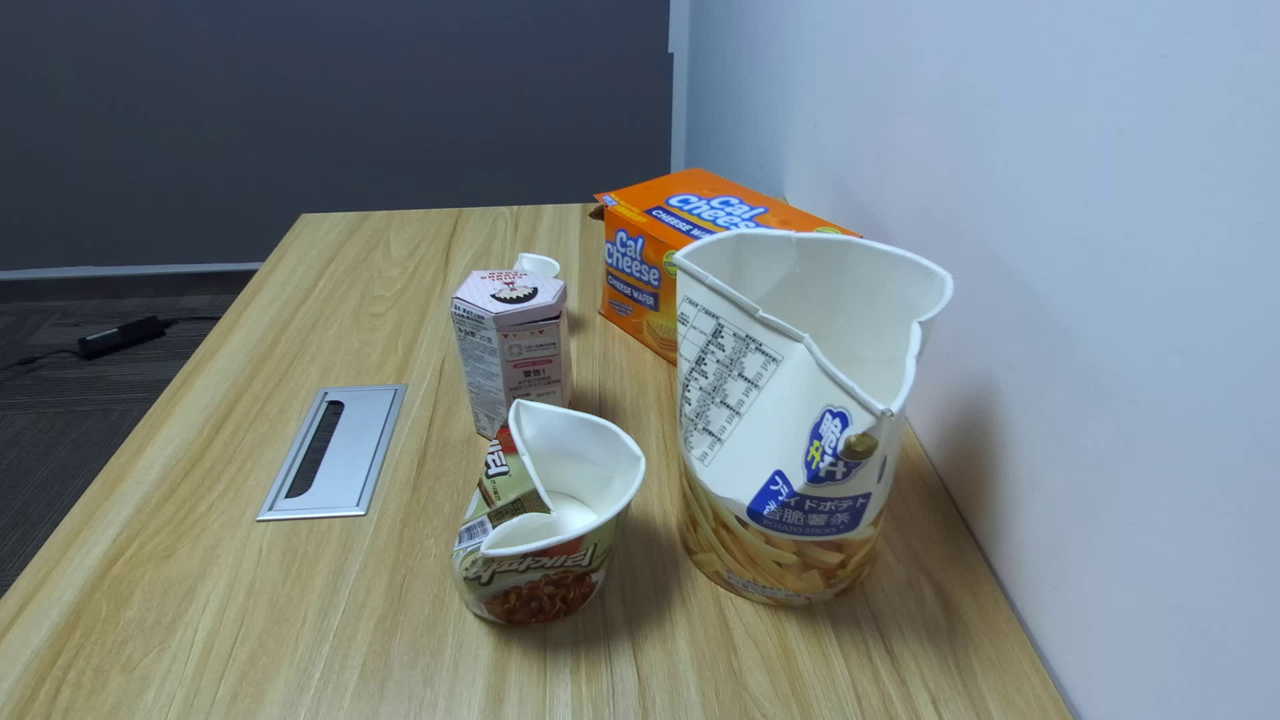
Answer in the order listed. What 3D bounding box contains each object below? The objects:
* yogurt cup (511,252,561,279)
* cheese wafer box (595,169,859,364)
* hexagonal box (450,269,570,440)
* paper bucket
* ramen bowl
[{"bbox_3d":[-0.113,-0.063,0.706,0.067,0.070,0.067,3,29,-1],"label":"yogurt cup"},{"bbox_3d":[0.075,-0.084,0.690,0.150,0.137,0.226,-27,44,-29],"label":"cheese wafer box"},{"bbox_3d":[-0.099,-0.001,0.576,0.092,0.135,0.084,-14,37,-17],"label":"hexagonal box"},{"bbox_3d":[0.091,0.038,0.468,0.162,0.202,0.169,17,37,24],"label":"paper bucket"},{"bbox_3d":[-0.066,0.105,0.464,0.137,0.098,0.137,0,39,1],"label":"ramen bowl"}]
